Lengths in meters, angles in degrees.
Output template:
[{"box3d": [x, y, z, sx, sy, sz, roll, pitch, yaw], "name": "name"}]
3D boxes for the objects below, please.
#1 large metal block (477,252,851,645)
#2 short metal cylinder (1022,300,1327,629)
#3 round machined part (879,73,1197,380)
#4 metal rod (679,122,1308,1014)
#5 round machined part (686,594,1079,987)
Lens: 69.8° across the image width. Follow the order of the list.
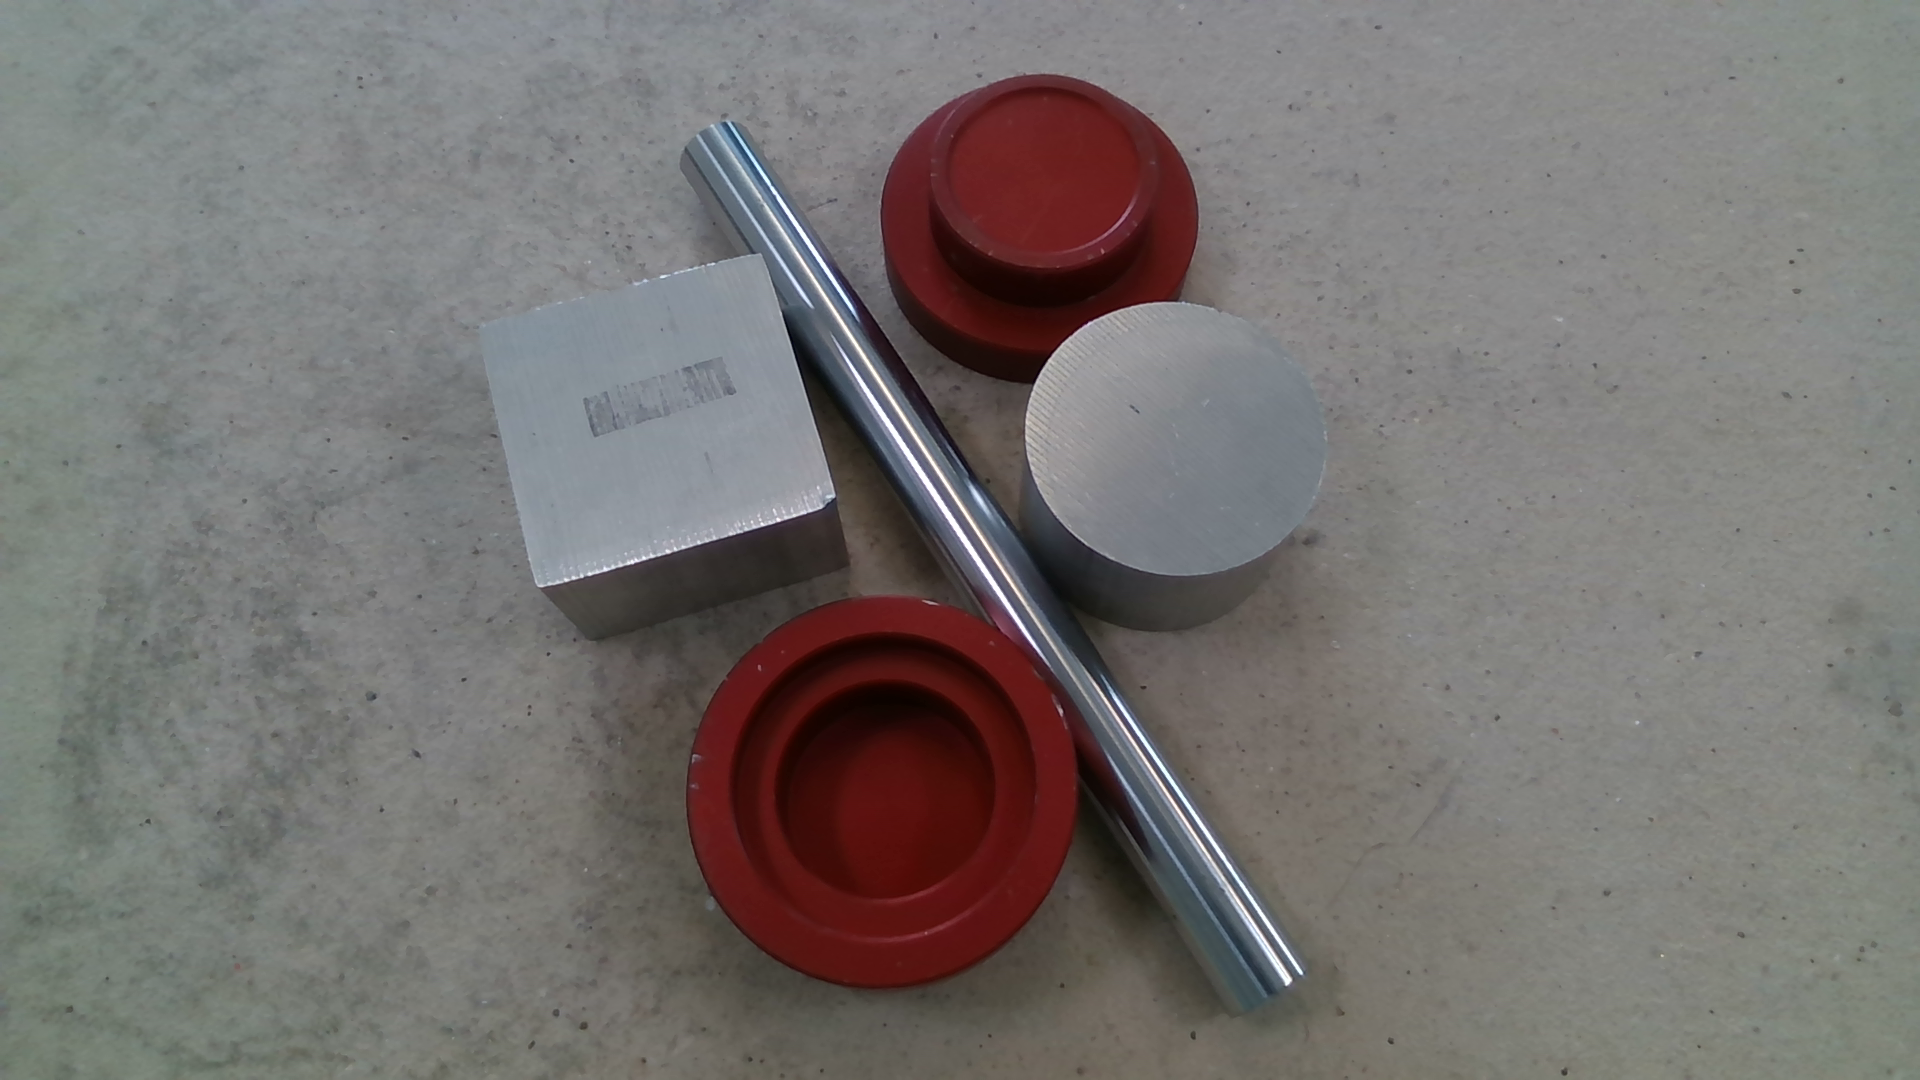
[{"box3d": [-0.082, -0.025, 0.392, 0.080, 0.050, 0.080, -16, 71, -6], "name": "large metal block"}, {"box3d": [0.057, -0.020, 0.389, 0.080, 0.050, 0.080, 0, 70, 0], "name": "short metal cylinder"}, {"box3d": [0.024, -0.102, 0.423, 0.098, 0.042, 0.098, 0, 70, 0], "name": "round machined part"}, {"box3d": [0.001, -0.004, 0.398, 0.025, 0.025, 0.299, -30, 73, -10], "name": "metal rod"}, {"box3d": [-0.019, 0.067, 0.363, 0.098, 0.042, 0.098, 0, 70, 0], "name": "round machined part"}]
